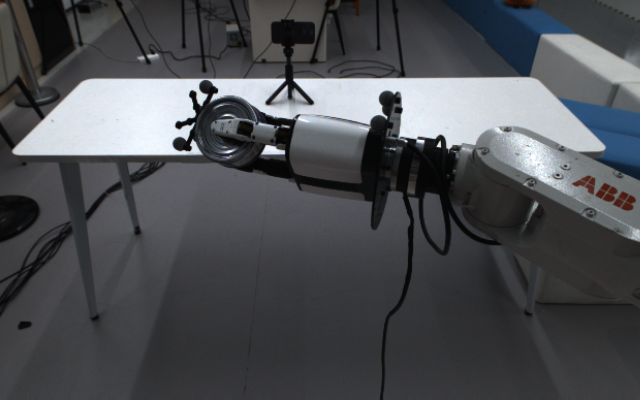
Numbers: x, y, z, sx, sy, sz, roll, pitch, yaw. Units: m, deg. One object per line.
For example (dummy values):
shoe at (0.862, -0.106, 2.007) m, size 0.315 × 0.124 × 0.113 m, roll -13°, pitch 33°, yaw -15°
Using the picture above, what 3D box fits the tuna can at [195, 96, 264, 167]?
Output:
tuna can at (-0.109, -0.086, 0.600) m, size 0.085 × 0.085 × 0.034 m, roll 12°, pitch -4°, yaw 14°
